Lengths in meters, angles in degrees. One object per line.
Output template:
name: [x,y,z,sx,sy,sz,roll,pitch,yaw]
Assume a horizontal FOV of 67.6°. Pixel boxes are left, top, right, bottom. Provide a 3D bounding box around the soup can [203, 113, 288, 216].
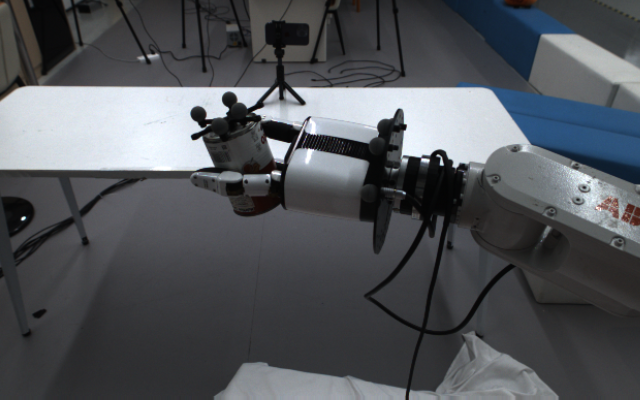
soup can: [-0.085,-0.040,0.559,0.067,0.101,0.067,-13,31,8]
